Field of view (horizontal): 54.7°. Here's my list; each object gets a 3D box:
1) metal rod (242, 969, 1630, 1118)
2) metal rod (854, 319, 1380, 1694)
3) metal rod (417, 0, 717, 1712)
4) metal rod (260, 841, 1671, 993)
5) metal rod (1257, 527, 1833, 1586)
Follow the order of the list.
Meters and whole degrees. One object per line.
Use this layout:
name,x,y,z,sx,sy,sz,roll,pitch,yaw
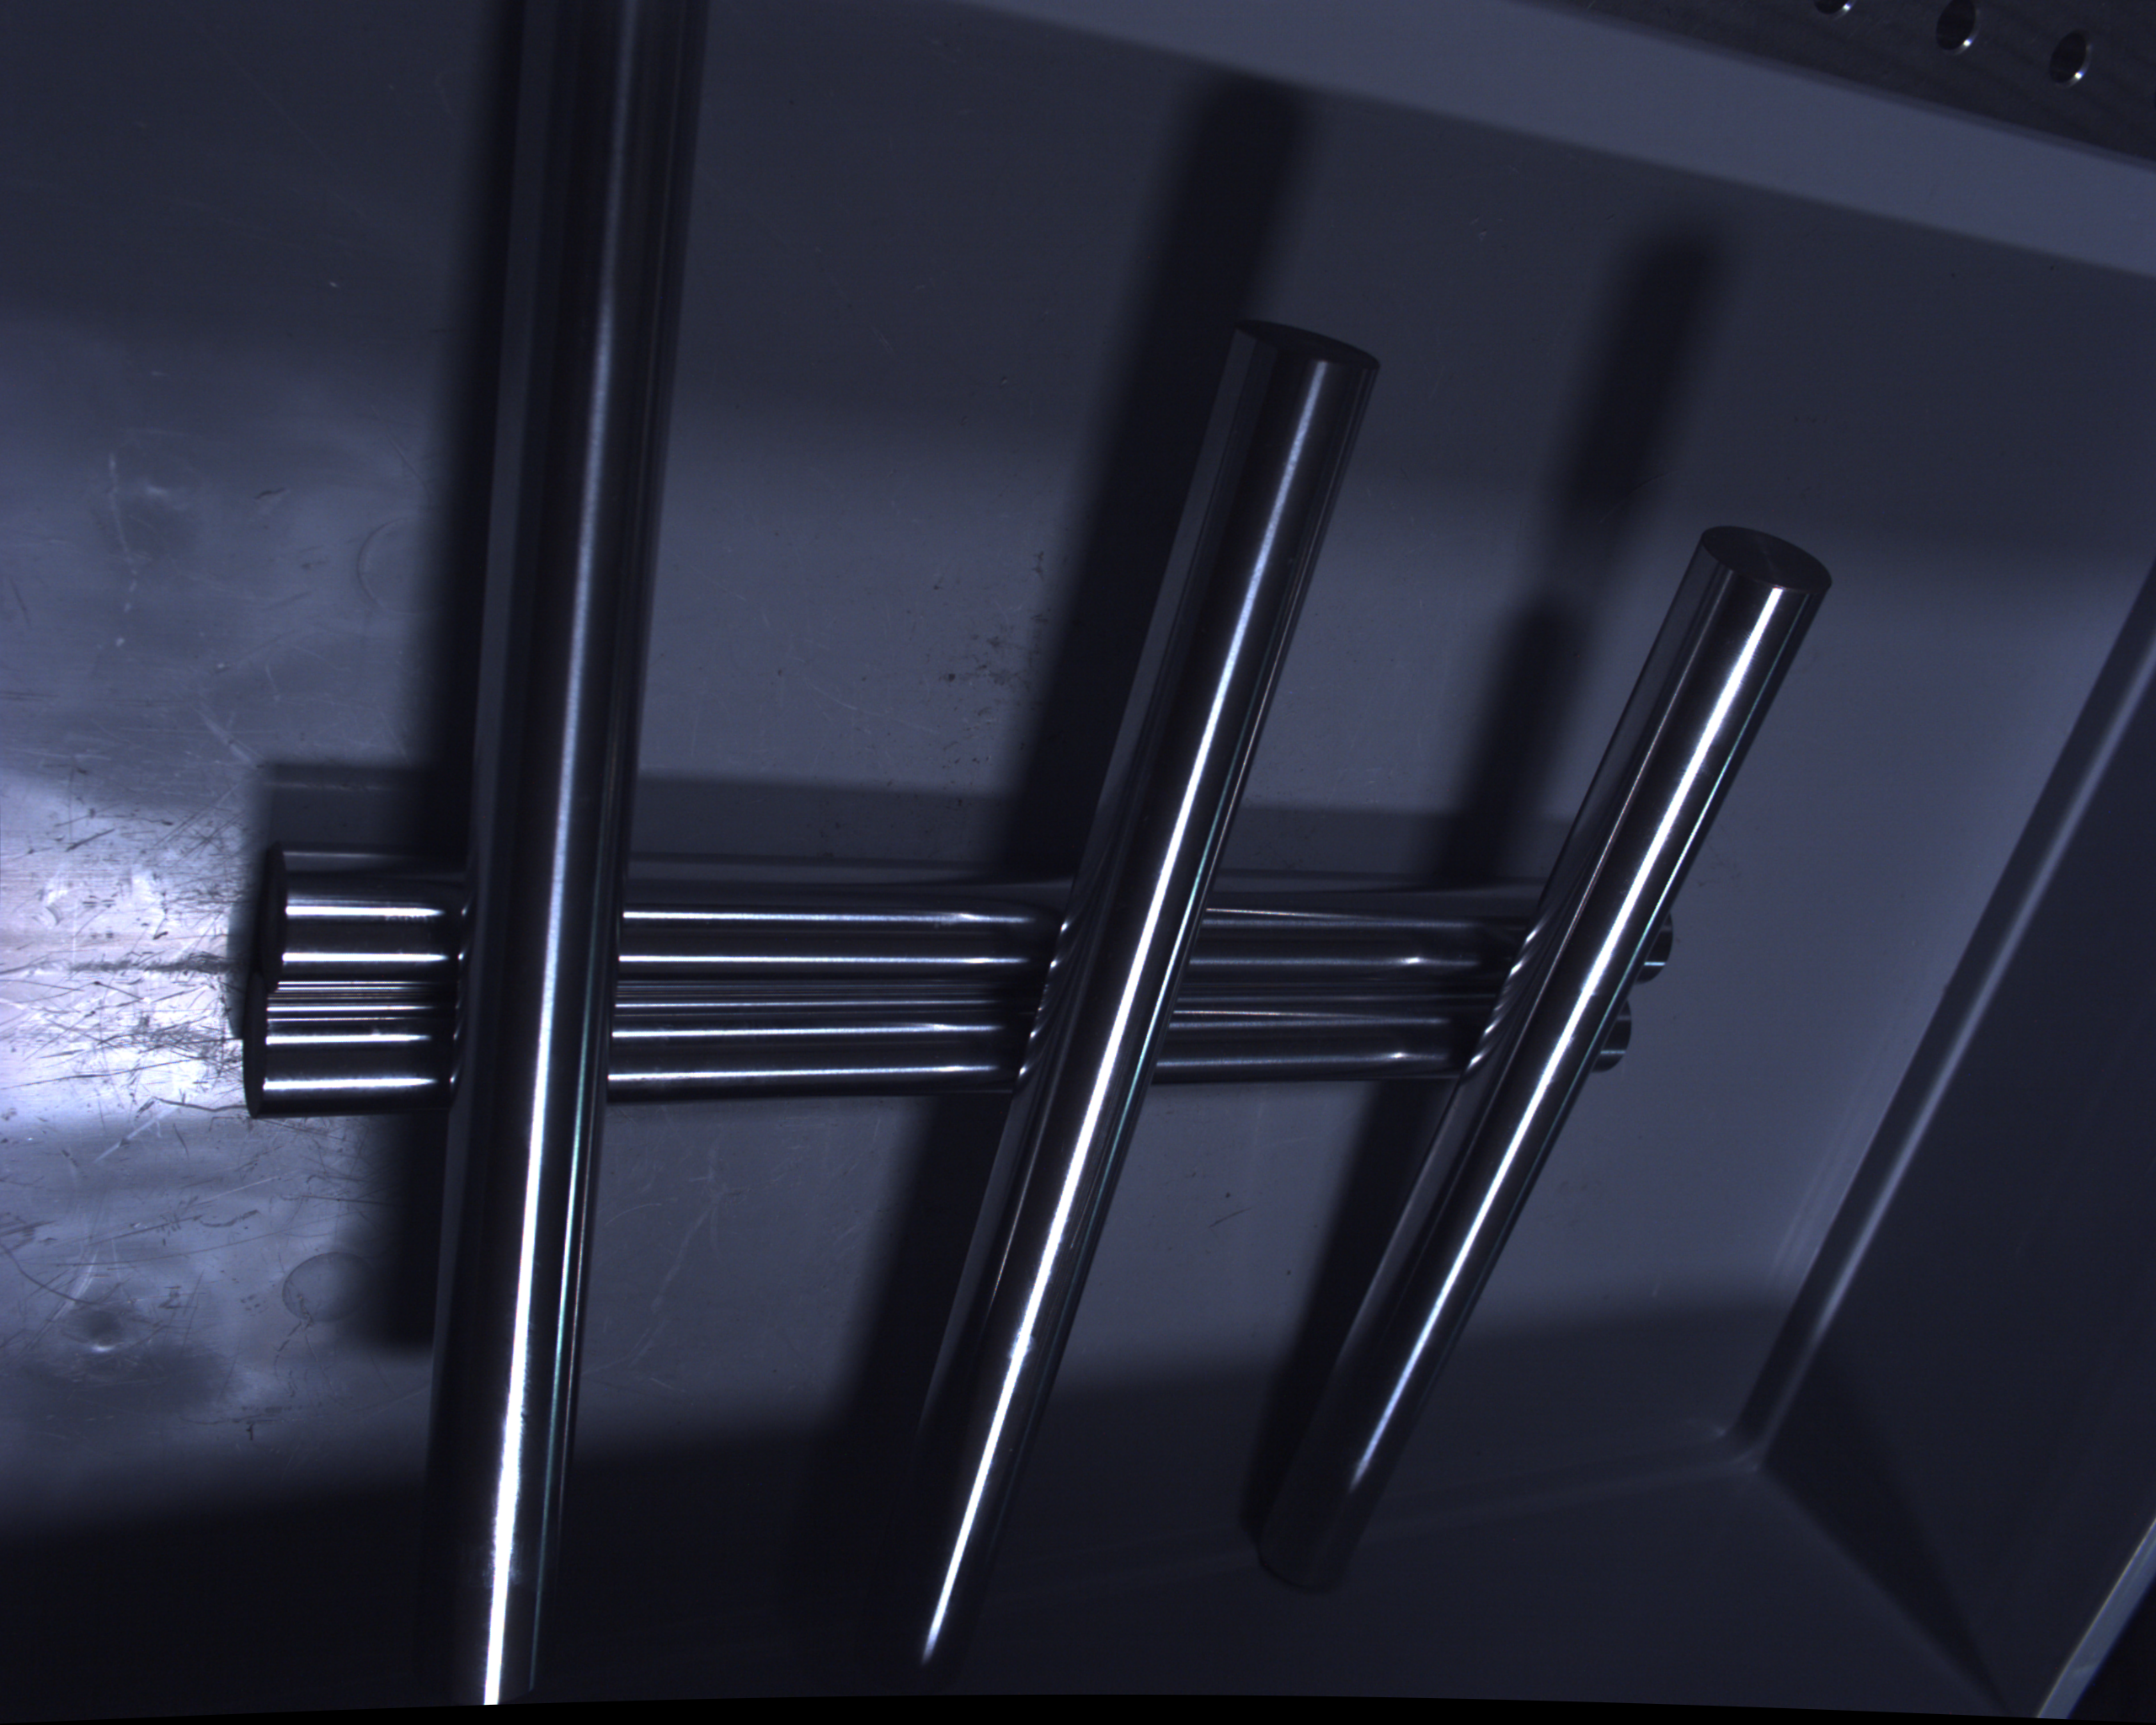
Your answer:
metal rod,-0.008,0.034,0.426,0.303,0.025,0.025,2,118,-30
metal rod,0.000,0.045,0.404,0.025,0.025,0.298,1,118,-30
metal rod,-0.085,0.007,0.335,0.025,0.025,0.298,-1,111,-29
metal rod,-0.001,0.013,0.416,0.303,0.025,0.025,2,118,-30
metal rod,0.094,0.063,0.470,0.025,0.025,0.298,-4,129,-27
